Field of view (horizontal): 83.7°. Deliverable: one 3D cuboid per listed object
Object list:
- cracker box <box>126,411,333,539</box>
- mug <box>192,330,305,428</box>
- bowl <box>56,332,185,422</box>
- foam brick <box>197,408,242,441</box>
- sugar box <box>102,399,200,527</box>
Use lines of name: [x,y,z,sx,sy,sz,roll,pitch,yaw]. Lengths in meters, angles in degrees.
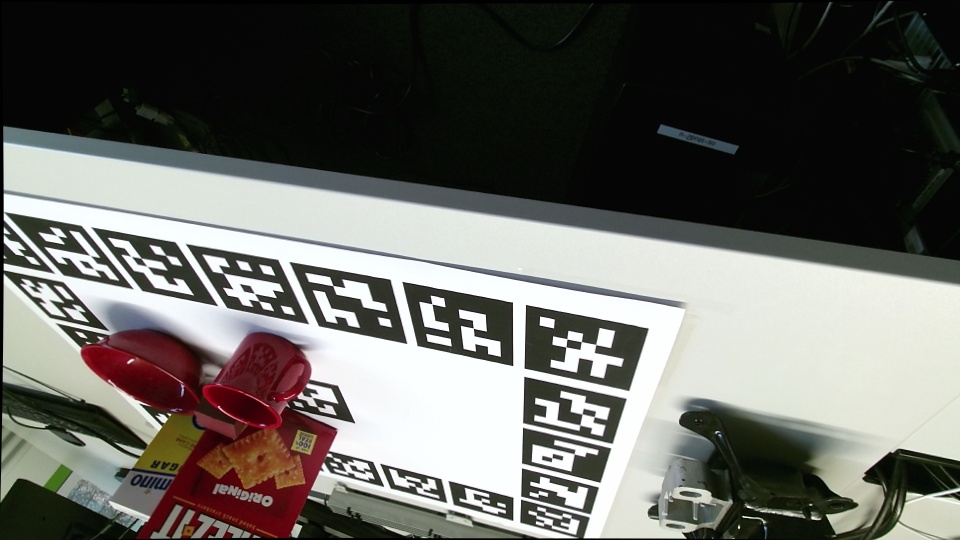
cracker box: [-0.321,0.289,0.709,0.165,0.213,0.072,30,139,-10]
mug: [-0.248,0.121,0.597,0.117,0.081,0.093,1,143,17]
bowl: [-0.443,0.129,0.687,0.162,0.055,0.162,10,136,10]
foam brick: [-0.322,0.167,0.687,0.053,0.078,0.051,19,139,0]
sugar box: [-0.423,0.270,0.752,0.093,0.176,0.045,23,138,-4]
